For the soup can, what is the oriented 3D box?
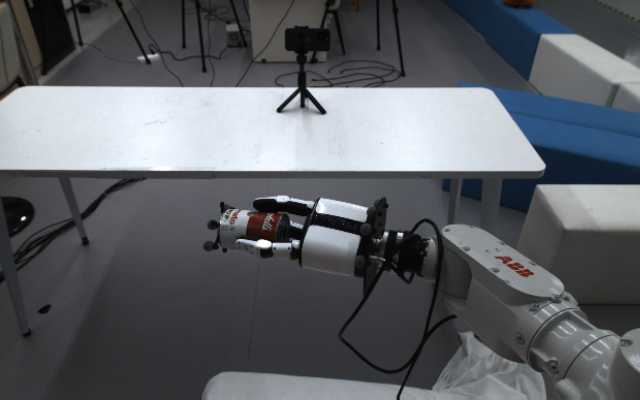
[{"bbox_3d":[-0.105,0.053,0.788,0.101,0.067,0.067,5,34,14],"label":"soup can"}]
